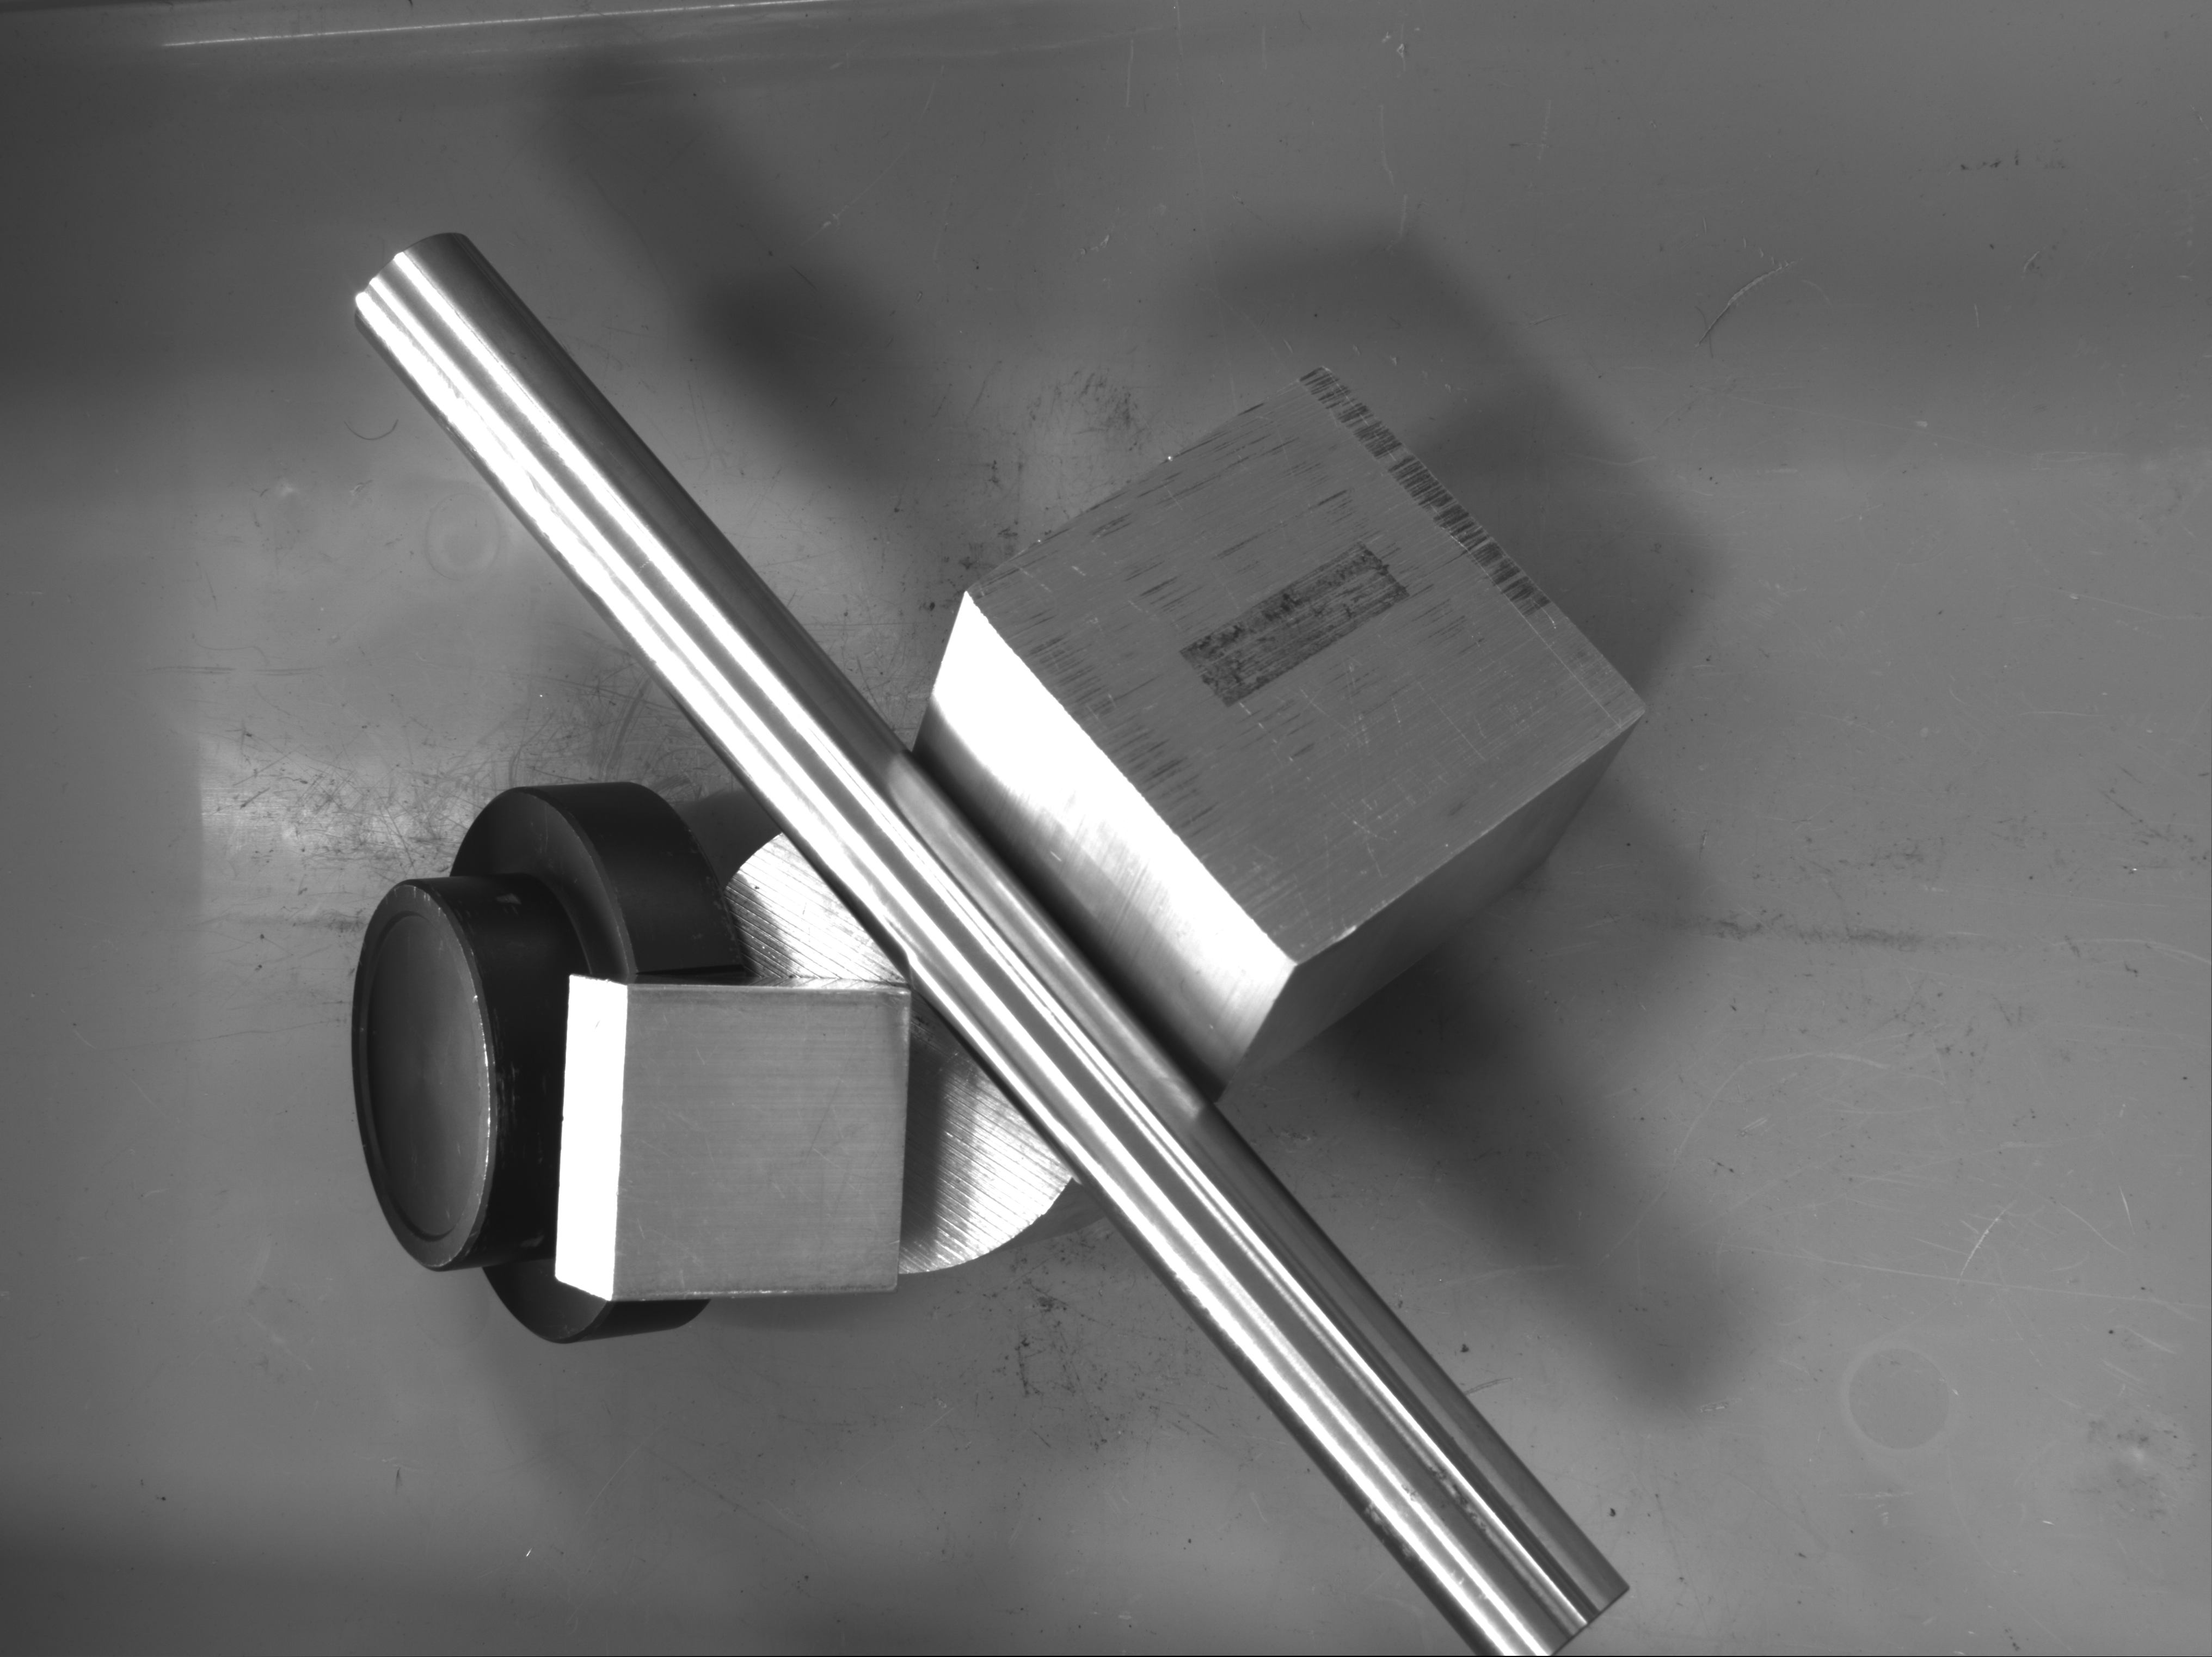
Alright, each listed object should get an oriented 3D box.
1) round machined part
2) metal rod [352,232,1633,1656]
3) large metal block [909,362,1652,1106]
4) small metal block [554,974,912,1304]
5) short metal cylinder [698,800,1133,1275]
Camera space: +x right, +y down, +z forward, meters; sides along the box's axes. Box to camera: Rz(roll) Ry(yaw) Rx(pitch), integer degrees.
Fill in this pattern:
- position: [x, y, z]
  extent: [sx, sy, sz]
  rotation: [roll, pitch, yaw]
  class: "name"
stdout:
- position: [-0.101, 0.042, 0.646]
  extent: [0.098, 0.042, 0.098]
  rotation: [10, 102, 58]
  class: "round machined part"
- position: [-0.024, 0.016, 0.601]
  extent: [0.025, 0.025, 0.300]
  rotation: [-45, 76, 14]
  class: "metal rod"
- position: [0.027, -0.016, 0.599]
  extent: [0.080, 0.050, 0.080]
  rotation: [-35, 74, -27]
  class: "large metal block"
- position: [-0.061, 0.050, 0.599]
  extent: [0.025, 0.050, 0.050]
  rotation: [5, 92, 60]
  class: "small metal block"
- position: [-0.028, 0.035, 0.642]
  extent: [0.080, 0.050, 0.080]
  rotation: [0, 90, 20]
  class: "short metal cylinder"
